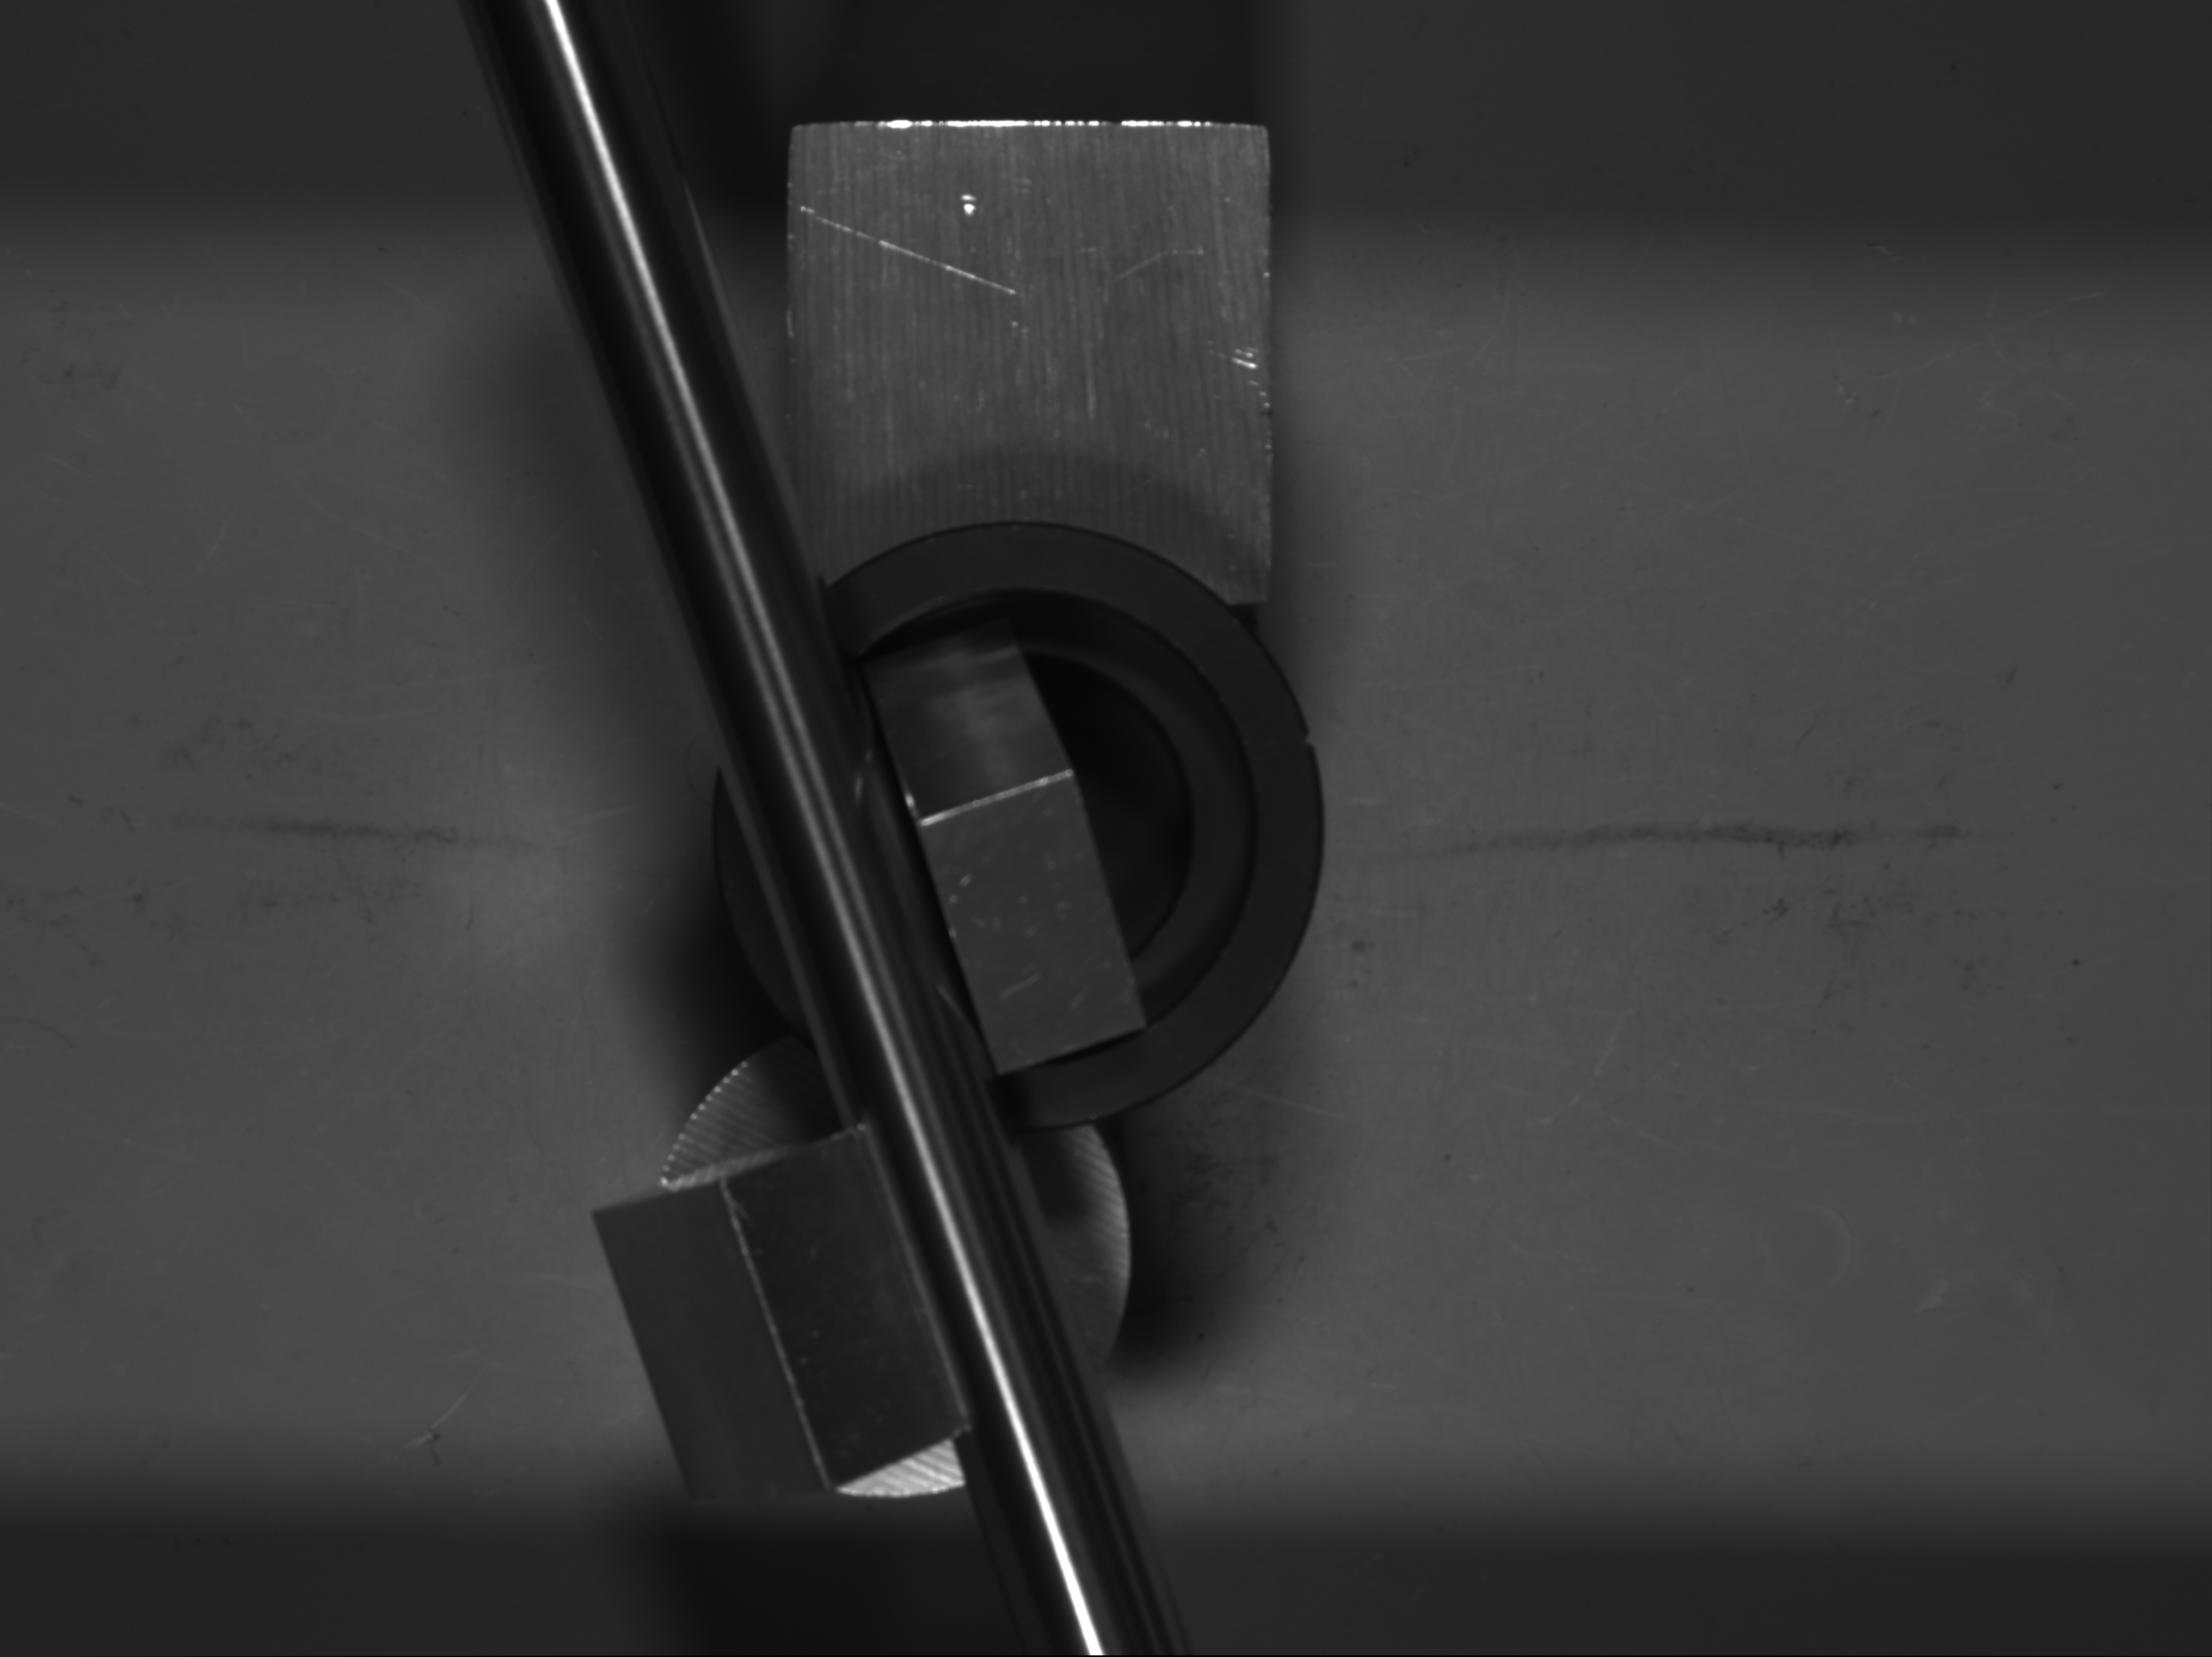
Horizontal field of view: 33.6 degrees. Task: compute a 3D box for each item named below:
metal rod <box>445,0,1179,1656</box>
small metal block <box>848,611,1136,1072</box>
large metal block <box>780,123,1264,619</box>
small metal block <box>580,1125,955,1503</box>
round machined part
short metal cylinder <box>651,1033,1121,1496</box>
[{"bbox_3d":[-0.047,-0.003,0.574,0.025,0.025,0.300,-19,90,0],"label":"metal rod"},{"bbox_3d":[-0.018,0.002,0.583,0.025,0.050,0.050,-18,125,-4],"label":"small metal block"},{"bbox_3d":[-0.014,-0.076,0.630,0.080,0.050,0.080,0,90,0],"label":"large metal block"},{"bbox_3d":[-0.054,0.077,0.579,0.025,0.050,0.050,-18,89,-34],"label":"small metal block"},{"bbox_3d":[-0.015,-0.001,0.606,0.098,0.042,0.098,0,90,0],"label":"round machined part"},{"bbox_3d":[-0.038,0.071,0.632,0.080,0.050,0.080,0,90,0],"label":"short metal cylinder"}]
